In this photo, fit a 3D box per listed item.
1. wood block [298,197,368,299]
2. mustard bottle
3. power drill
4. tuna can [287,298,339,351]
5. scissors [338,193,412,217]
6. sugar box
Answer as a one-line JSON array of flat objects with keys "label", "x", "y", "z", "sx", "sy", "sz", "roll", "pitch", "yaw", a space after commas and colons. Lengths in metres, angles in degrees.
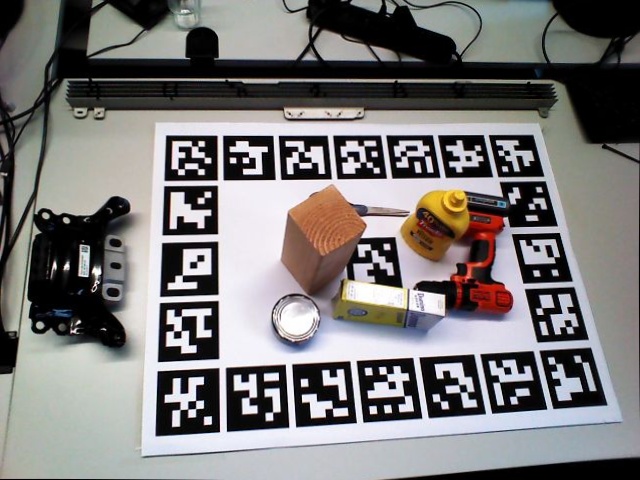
[{"label": "wood block", "x": 0.030, "y": 0.016, "z": 0.850, "sx": 0.090, "sy": 0.207, "sz": 0.090, "roll": -29, "pitch": 76, "yaw": -16}, {"label": "mustard bottle", "x": 0.245, "y": -0.022, "z": 0.896, "sx": 0.058, "sy": 0.192, "sz": 0.096, "roll": -41, "pitch": 80, "yaw": -18}, {"label": "power drill", "x": 0.288, "y": 0.046, "z": 0.939, "sx": 0.185, "sy": 0.057, "sz": 0.186, "roll": 11, "pitch": 75, "yaw": -2}, {"label": "tuna can", "x": -0.013, "y": 0.144, "z": 0.876, "sx": 0.086, "sy": 0.034, "sz": 0.085, "roll": 2, "pitch": 70, "yaw": -7}, {"label": "scissors", "x": 0.093, "y": -0.048, "z": 0.973, "sx": 0.203, "sy": 0.016, "sz": 0.087, "roll": 1, "pitch": 65, "yaw": -6}, {"label": "sugar box", "x": 0.154, "y": 0.124, "z": 0.876, "sx": 0.176, "sy": 0.093, "sz": 0.045, "roll": 11, "pitch": 65, "yaw": -5}]
